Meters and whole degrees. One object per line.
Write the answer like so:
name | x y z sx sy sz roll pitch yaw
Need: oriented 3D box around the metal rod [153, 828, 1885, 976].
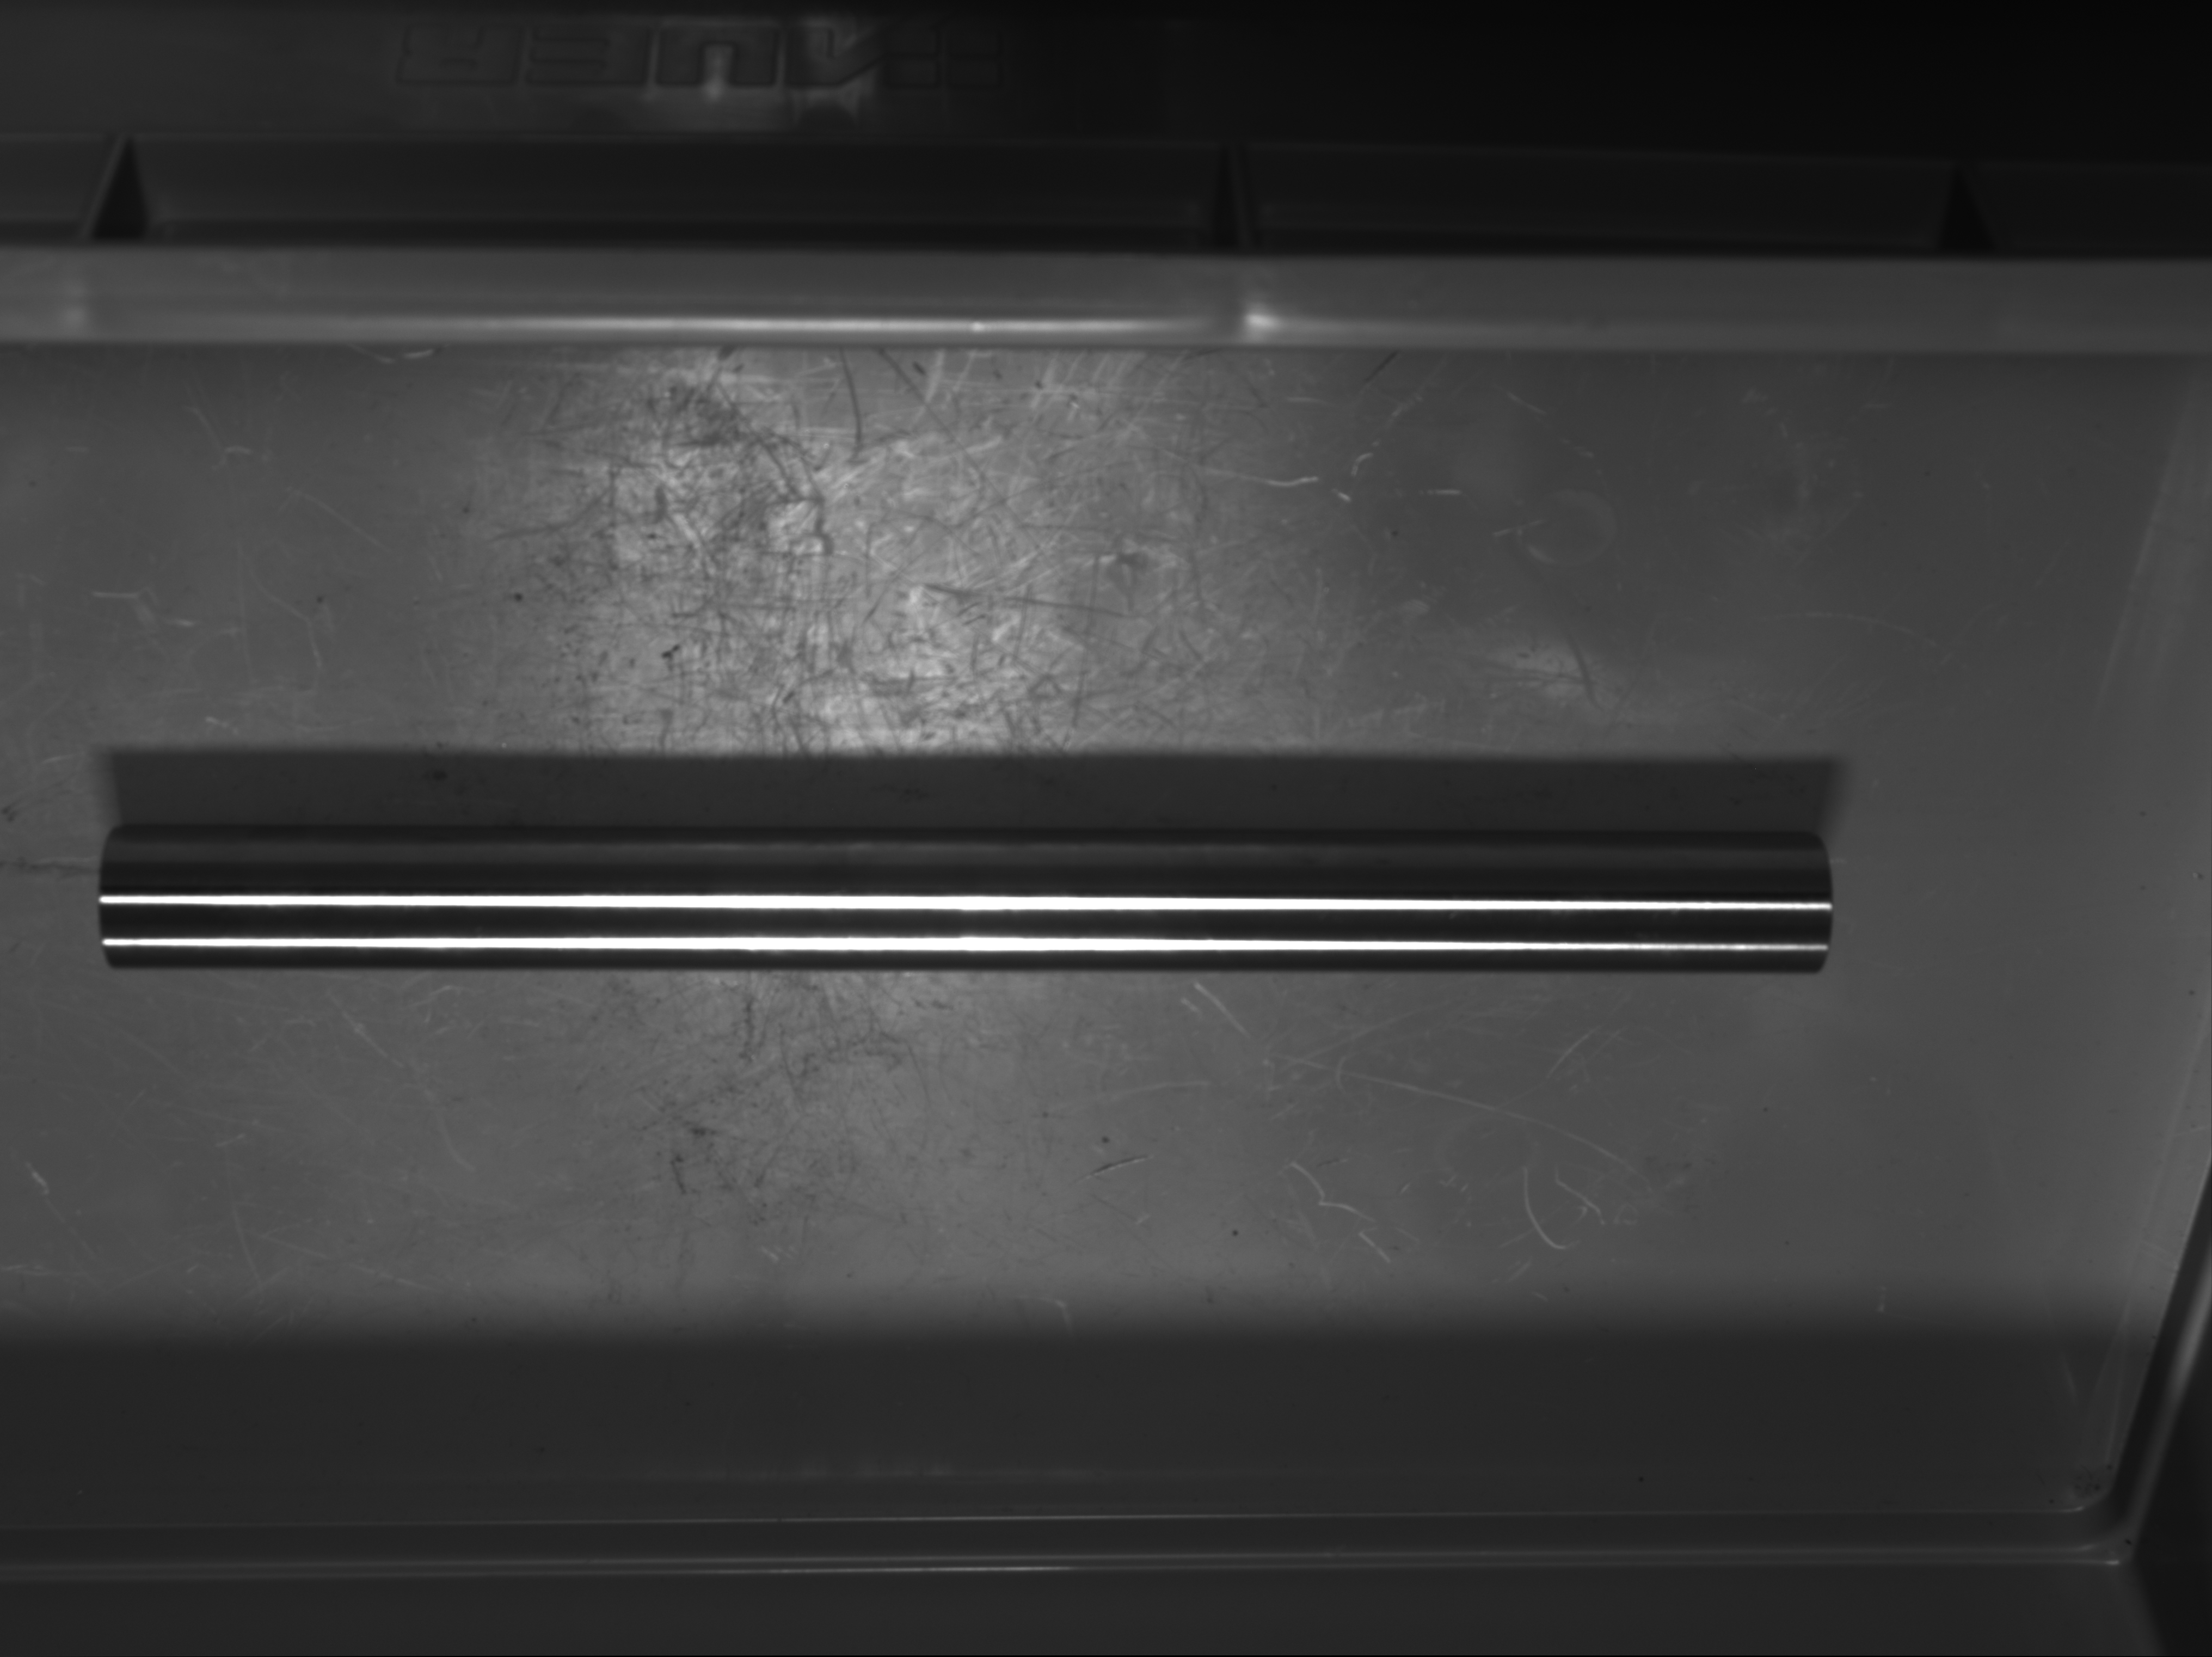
metal rod | -0.014 0.013 0.647 0.300 0.025 0.025 0 130 -2
